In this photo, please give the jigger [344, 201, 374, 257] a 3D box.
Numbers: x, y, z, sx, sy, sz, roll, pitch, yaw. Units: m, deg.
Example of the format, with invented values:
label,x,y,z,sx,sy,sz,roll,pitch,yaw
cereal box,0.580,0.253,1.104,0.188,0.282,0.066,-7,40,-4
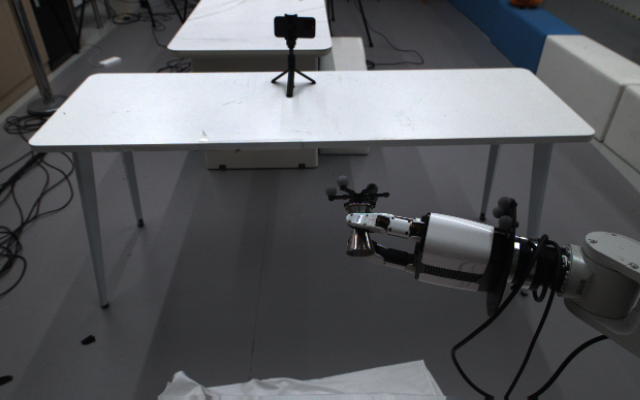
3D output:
label,x,y,z,sx,sy,sz,roll,pitch,yaw
jigger,0.056,0.041,0.684,0.043,0.043,0.071,1,70,-2
